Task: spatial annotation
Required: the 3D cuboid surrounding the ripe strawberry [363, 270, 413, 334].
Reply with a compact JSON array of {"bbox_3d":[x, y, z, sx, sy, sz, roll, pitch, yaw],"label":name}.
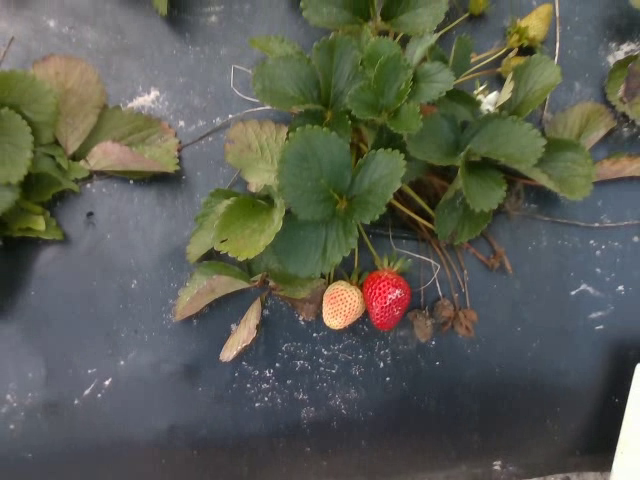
[{"bbox_3d":[0.041,0.038,0.369,0.034,0.042,0.033,24,-33,-12],"label":"ripe strawberry"}]
